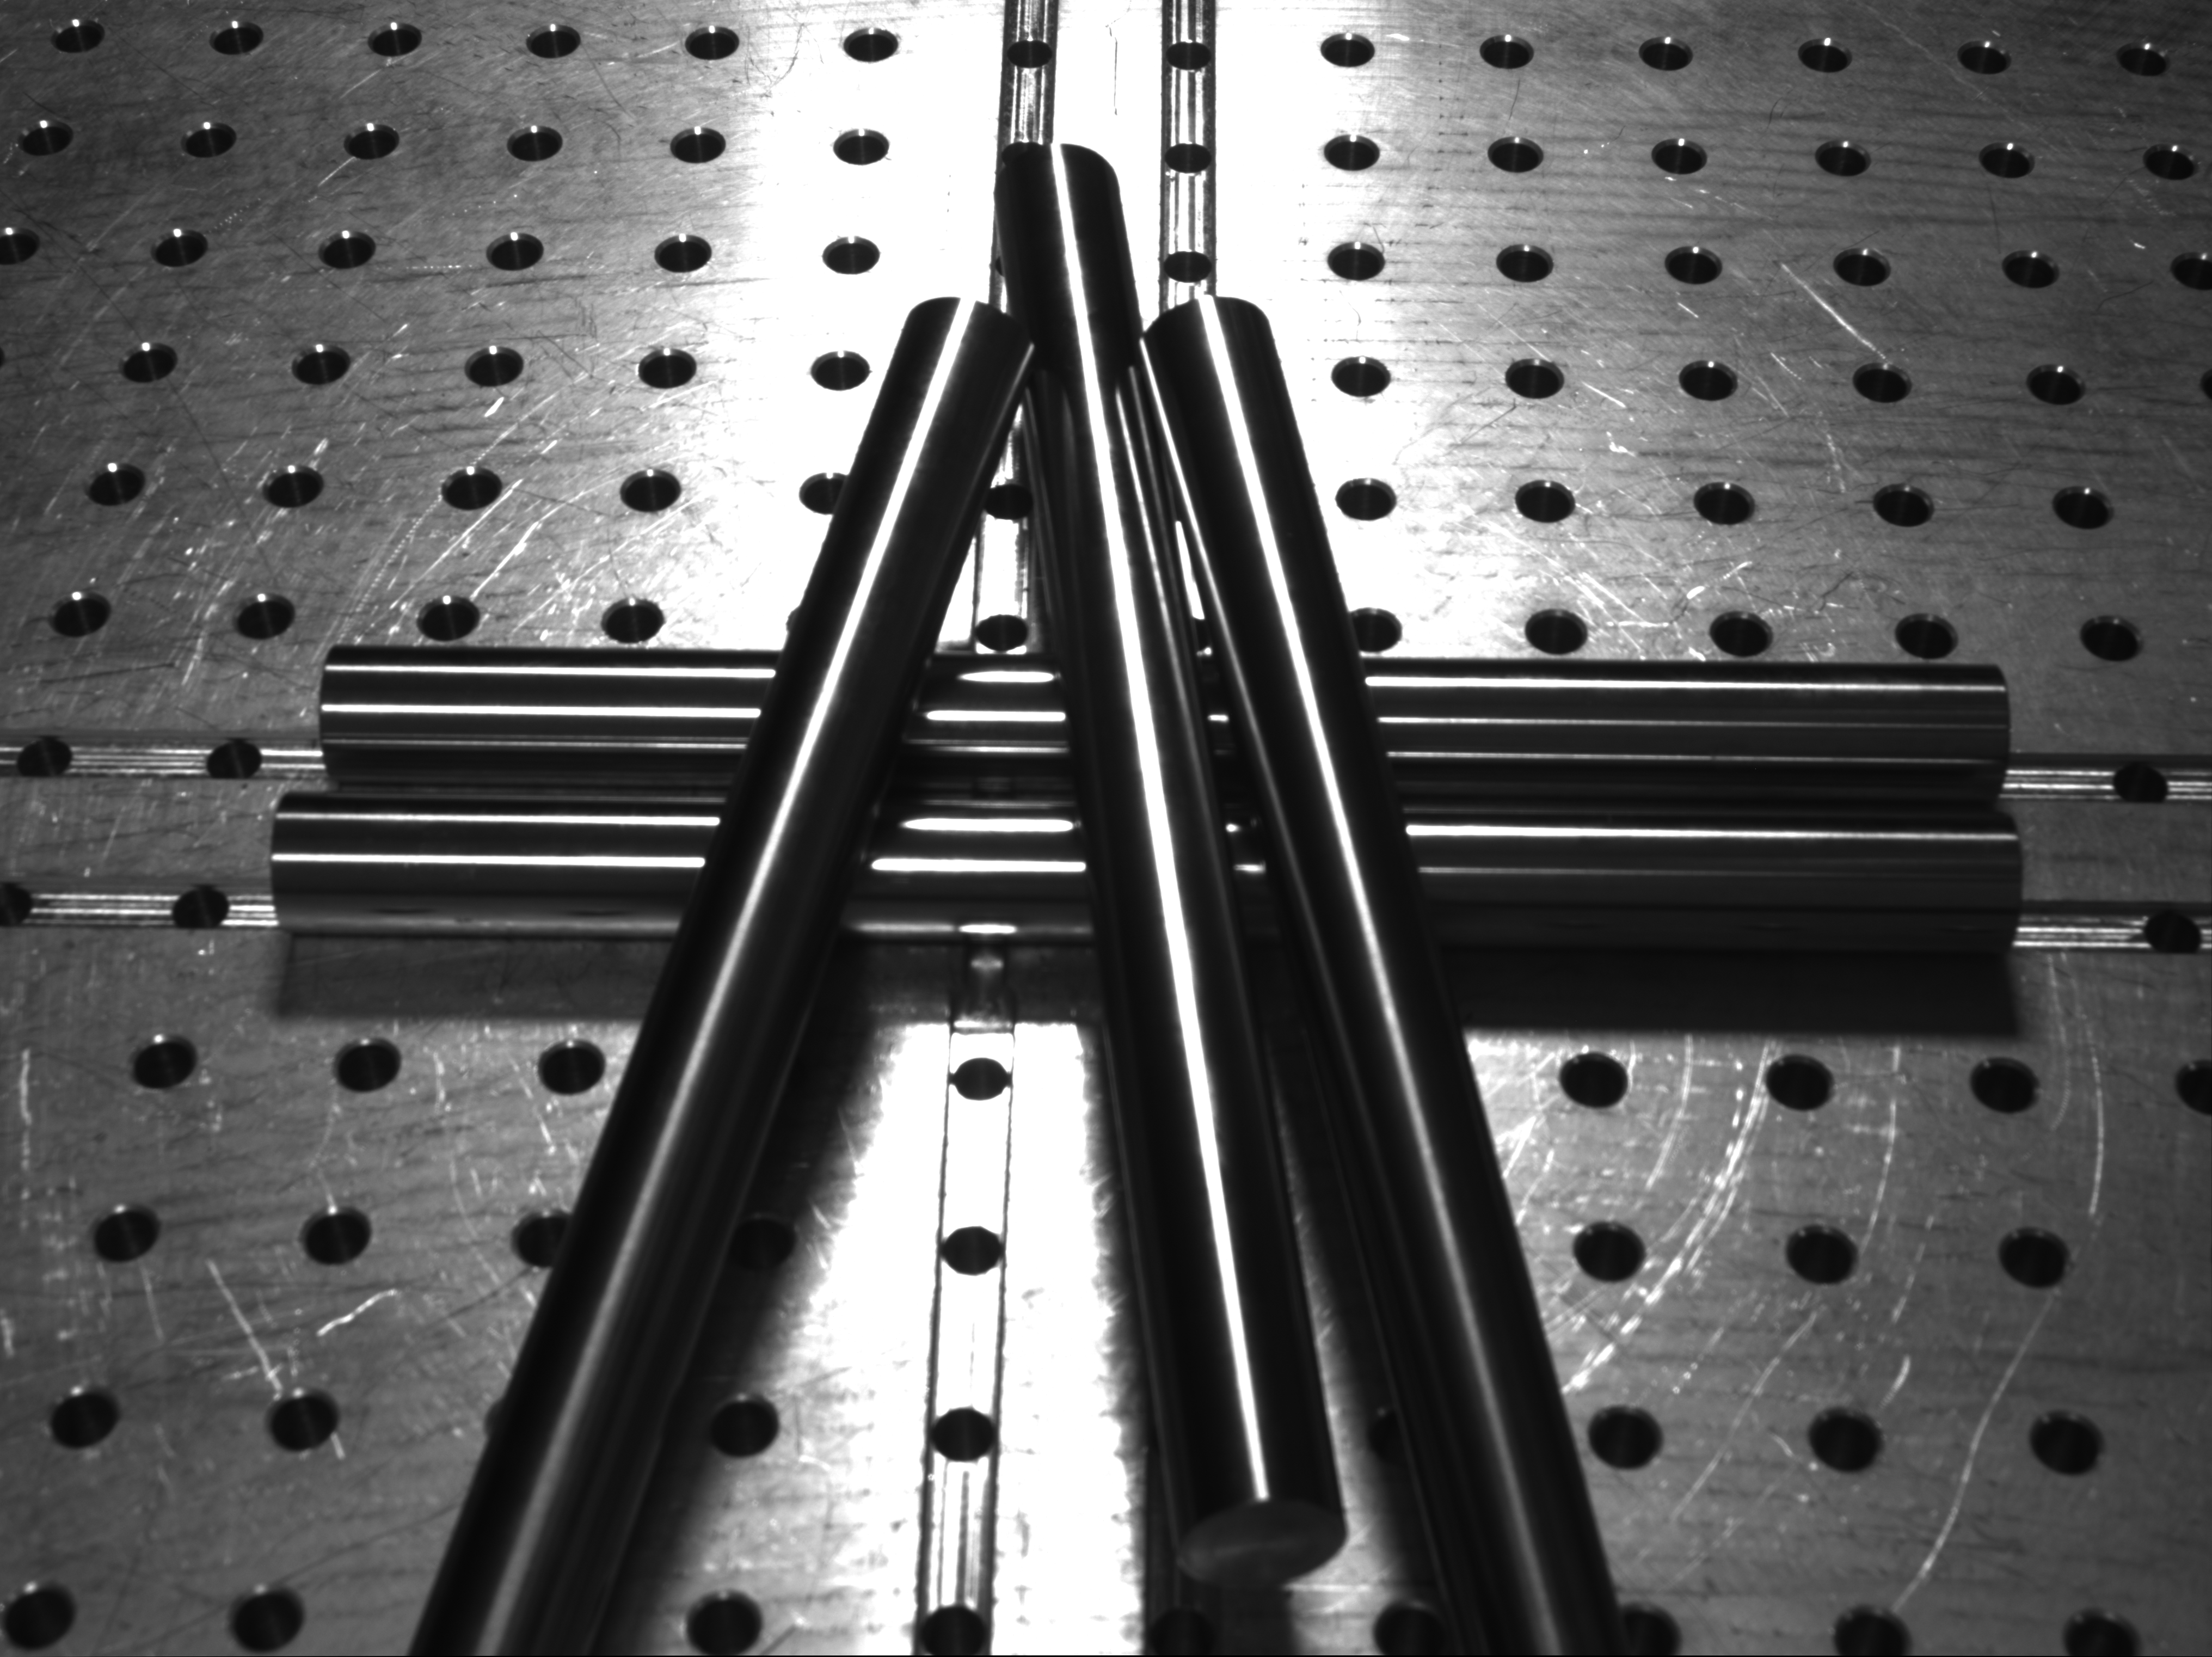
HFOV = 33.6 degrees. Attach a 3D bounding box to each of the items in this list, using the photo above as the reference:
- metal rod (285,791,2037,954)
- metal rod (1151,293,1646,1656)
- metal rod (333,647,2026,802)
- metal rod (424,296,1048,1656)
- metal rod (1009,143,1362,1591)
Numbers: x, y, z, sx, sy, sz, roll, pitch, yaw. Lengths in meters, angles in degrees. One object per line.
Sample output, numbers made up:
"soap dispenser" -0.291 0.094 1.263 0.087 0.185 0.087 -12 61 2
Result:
"metal rod" 0.009 0.008 0.639 0.300 0.025 0.025 1 50 0
"metal rod" 0.047 0.034 0.592 0.025 0.025 0.300 -8 57 -7
"metal rod" 0.013 -0.019 0.662 0.300 0.025 0.025 1 50 0
"metal rod" -0.060 0.033 0.593 0.025 0.025 0.300 11 58 9
"metal rod" 0.009 -0.011 0.622 0.025 0.025 0.300 -5 50 -4
